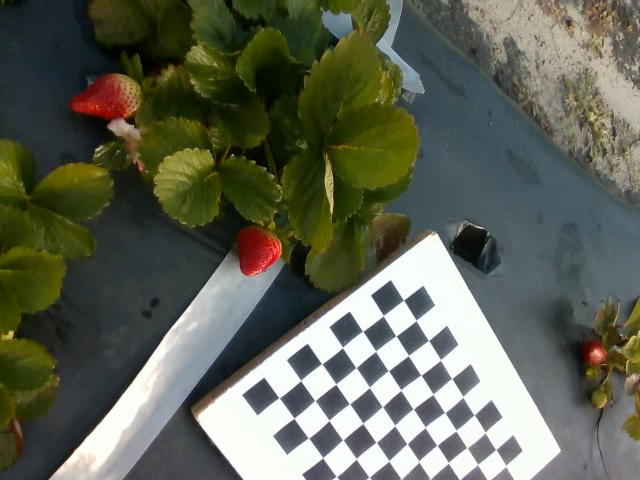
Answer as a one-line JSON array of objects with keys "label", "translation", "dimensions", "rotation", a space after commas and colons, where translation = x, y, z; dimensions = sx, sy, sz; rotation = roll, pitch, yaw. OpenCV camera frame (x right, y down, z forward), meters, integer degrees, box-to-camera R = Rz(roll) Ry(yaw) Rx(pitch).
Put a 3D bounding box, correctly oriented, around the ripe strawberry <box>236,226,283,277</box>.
[{"label": "ripe strawberry", "translation": [-0.049, 0.013, 0.463], "dimensions": [0.035, 0.050, 0.055], "rotation": [-1, 42, 53]}]
